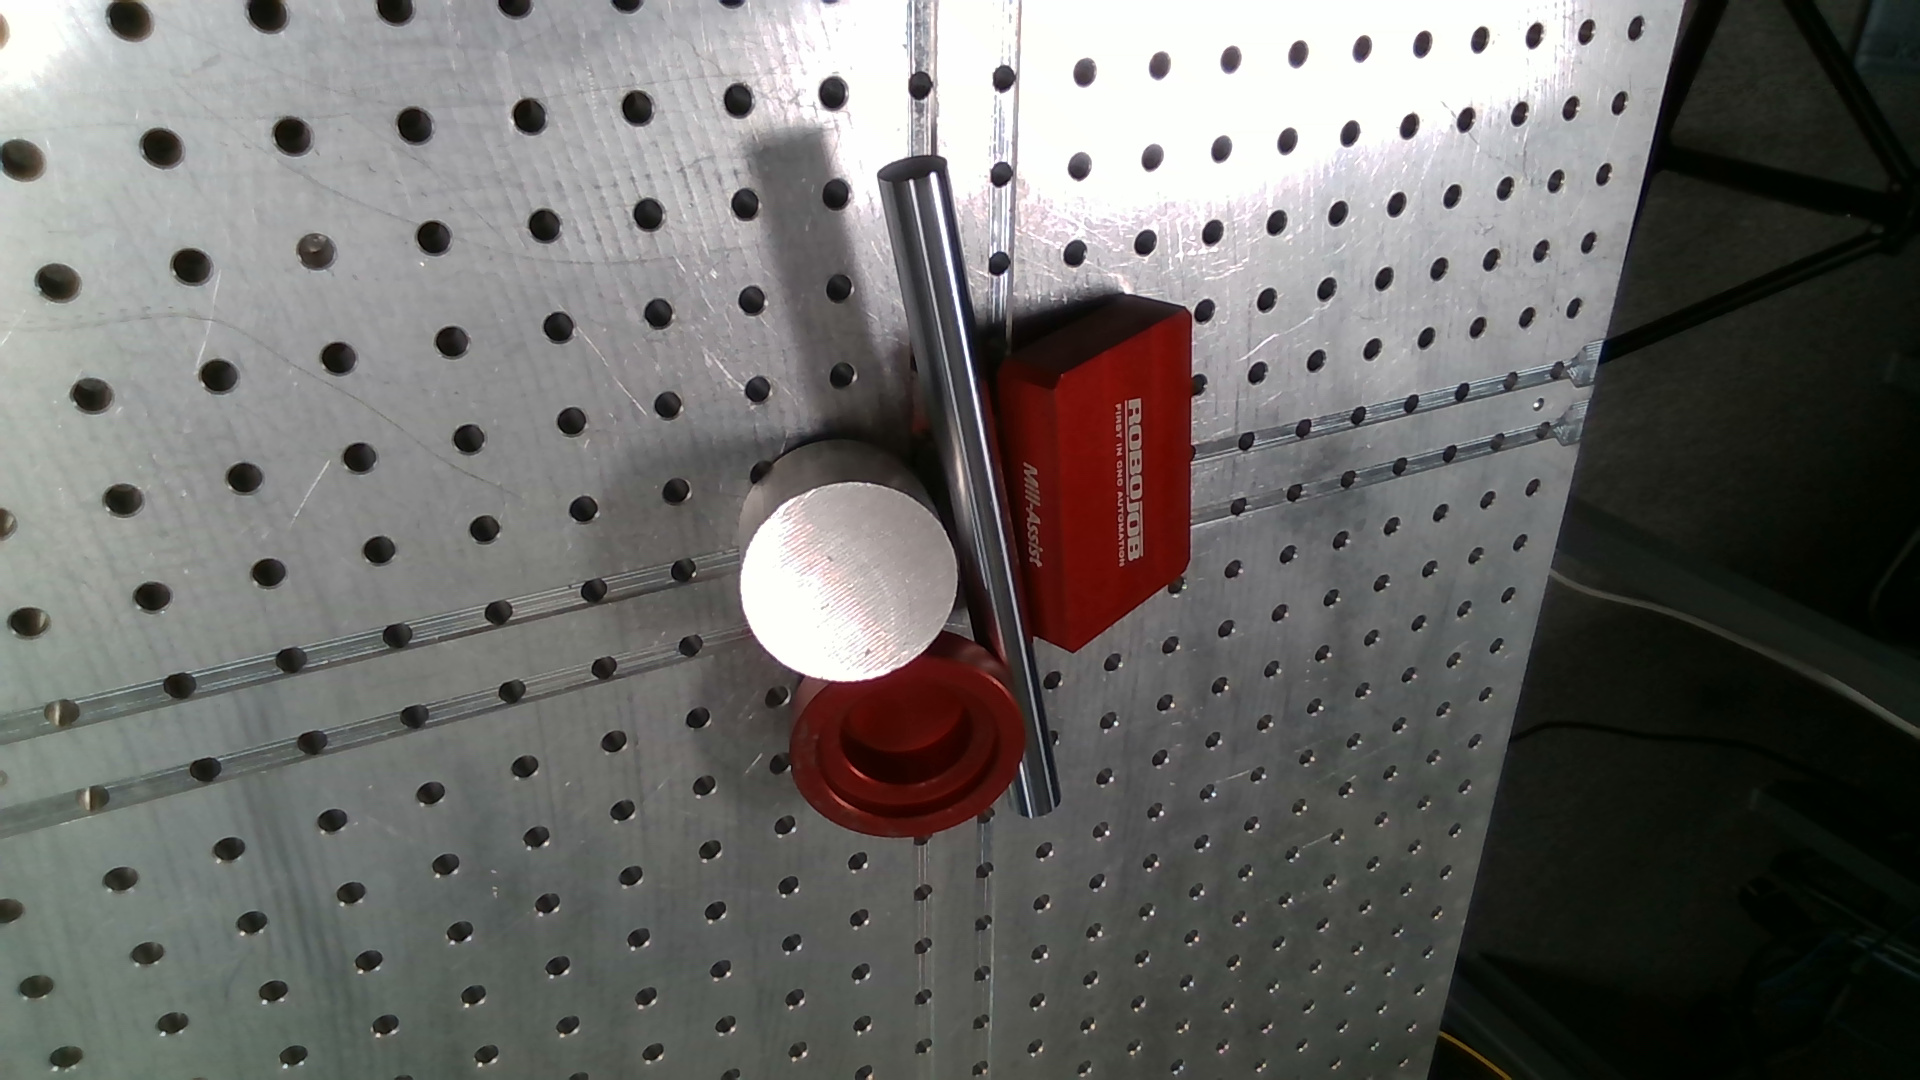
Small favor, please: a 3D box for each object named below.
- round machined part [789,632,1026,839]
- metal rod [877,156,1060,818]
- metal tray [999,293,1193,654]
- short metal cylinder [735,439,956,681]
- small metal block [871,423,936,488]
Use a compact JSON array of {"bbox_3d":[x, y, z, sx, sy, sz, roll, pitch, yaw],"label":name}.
[{"bbox_3d":[-0.024,0.077,0.585,0.098,0.042,0.098,-4,122,-6],"label":"round machined part"},{"bbox_3d":[0.009,-0.004,0.554,0.025,0.025,0.301,-24,125,-19],"label":"metal rod"},{"bbox_3d":[0.060,-0.028,0.584,0.090,0.030,0.130,-32,130,-37],"label":"metal tray"},{"bbox_3d":[-0.045,0.007,0.529,0.080,0.050,0.080,-4,113,-9],"label":"short metal cylinder"},{"bbox_3d":[-0.014,-0.018,0.576,0.050,0.025,0.050,4,113,-33],"label":"small metal block"}]
